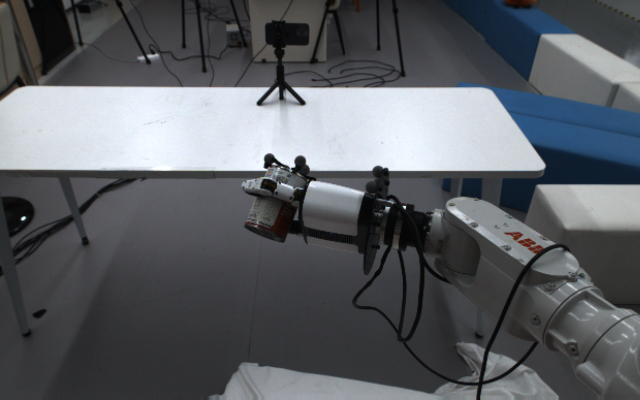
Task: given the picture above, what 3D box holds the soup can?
[{"bbox_3d":[-0.066,0.007,0.742,0.067,0.067,0.101,16,75,19],"label":"soup can"}]
